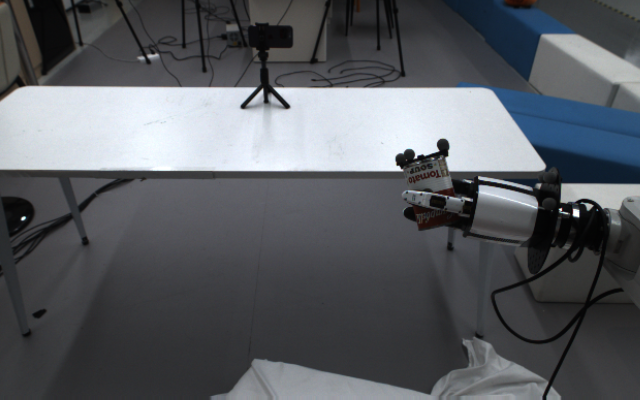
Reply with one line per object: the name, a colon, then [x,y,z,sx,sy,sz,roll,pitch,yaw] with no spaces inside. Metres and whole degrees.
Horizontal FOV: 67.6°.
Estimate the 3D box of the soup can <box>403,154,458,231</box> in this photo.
soup can: [0.171,-0.011,0.742,0.067,0.101,0.067,-14,-2,-1]
